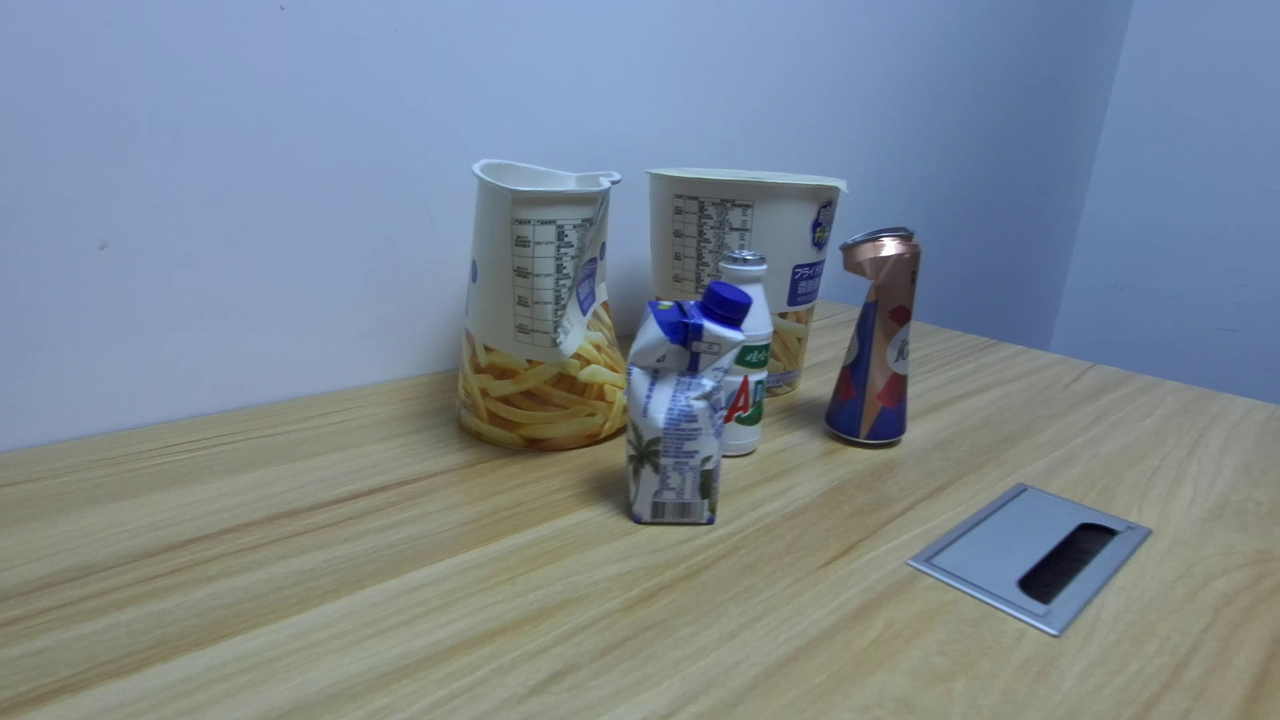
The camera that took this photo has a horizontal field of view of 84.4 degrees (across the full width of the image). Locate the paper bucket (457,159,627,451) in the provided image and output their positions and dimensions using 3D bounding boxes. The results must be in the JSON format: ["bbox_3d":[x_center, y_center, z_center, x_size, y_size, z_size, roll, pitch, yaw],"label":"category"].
[{"bbox_3d":[-0.069,-0.049,0.553,0.148,0.199,0.217,-5,19,-27],"label":"paper bucket"}]

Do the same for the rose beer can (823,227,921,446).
[{"bbox_3d":[0.185,-0.017,0.554,0.070,0.168,0.069,-8,17,-24],"label":"rose beer can"}]

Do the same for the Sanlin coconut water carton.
[{"bbox_3d":[0.026,0.025,0.424,0.070,0.143,0.060,3,19,-4],"label":"Sanlin coconut water carton"}]

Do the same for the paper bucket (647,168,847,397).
[{"bbox_3d":[0.091,-0.078,0.676,0.198,0.194,0.198,3,18,-1],"label":"paper bucket"}]

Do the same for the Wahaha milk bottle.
[{"bbox_3d":[0.069,-0.004,0.518,0.053,0.147,0.053,3,17,-1],"label":"Wahaha milk bottle"}]
